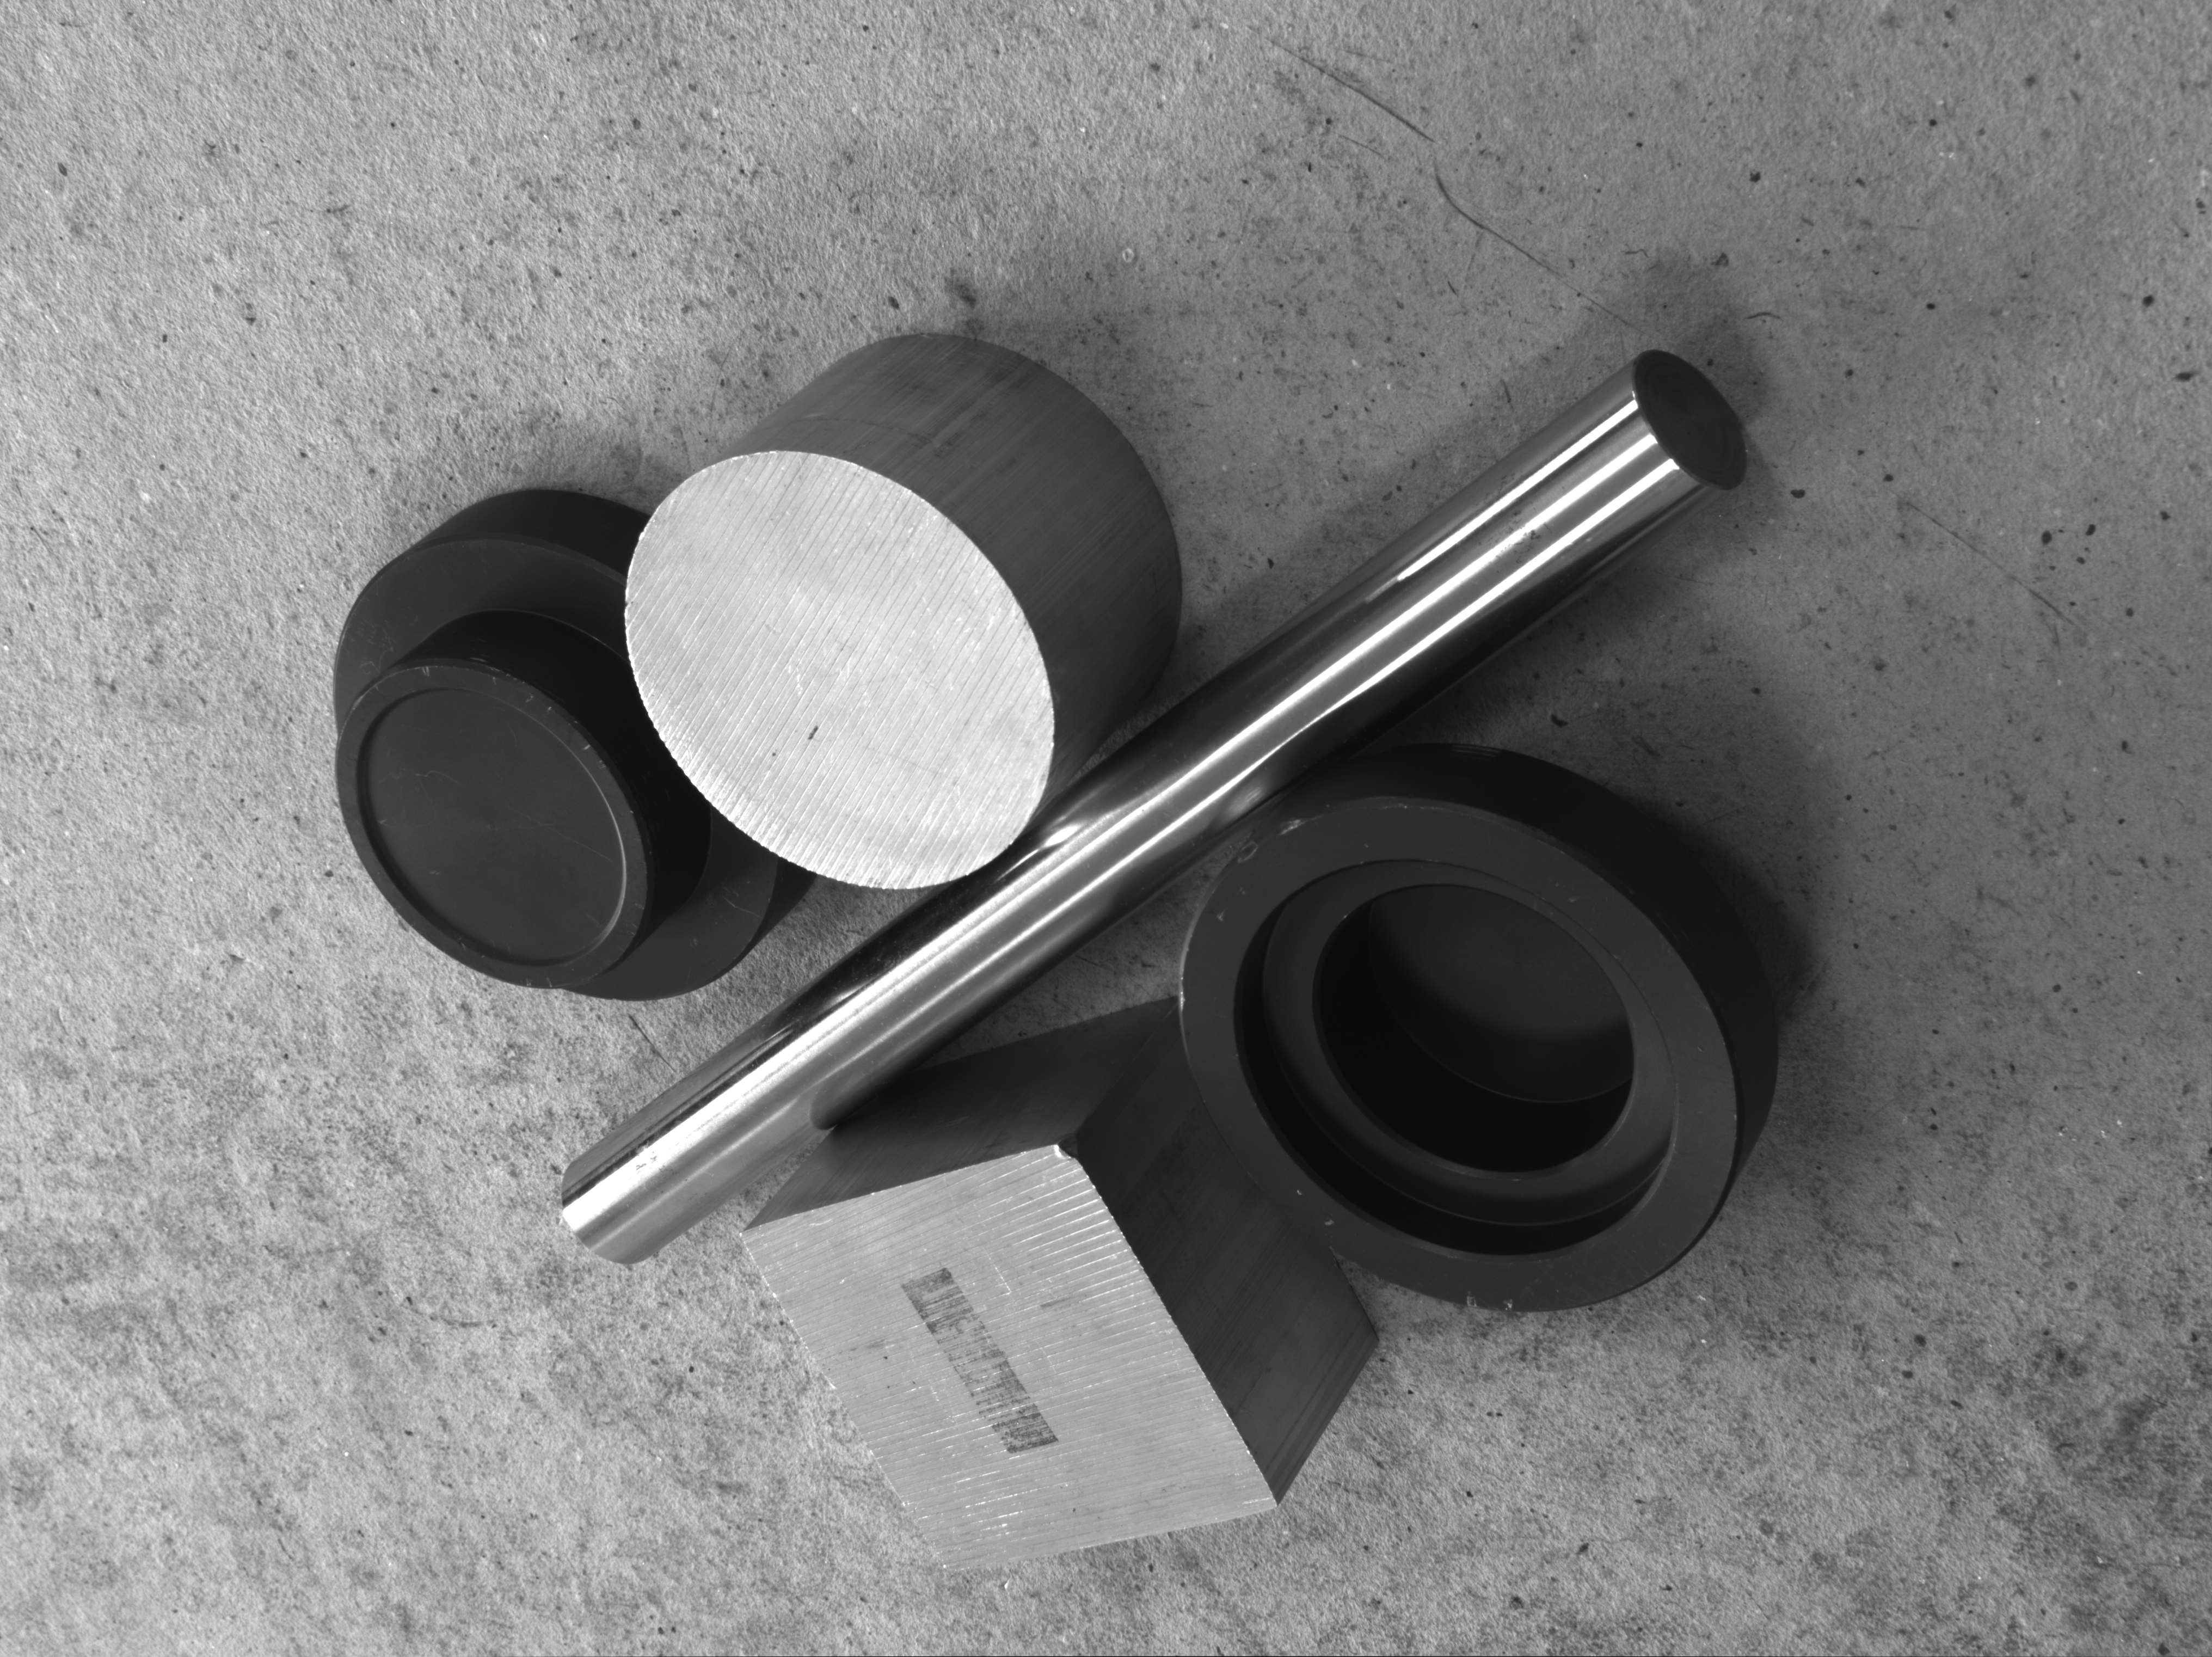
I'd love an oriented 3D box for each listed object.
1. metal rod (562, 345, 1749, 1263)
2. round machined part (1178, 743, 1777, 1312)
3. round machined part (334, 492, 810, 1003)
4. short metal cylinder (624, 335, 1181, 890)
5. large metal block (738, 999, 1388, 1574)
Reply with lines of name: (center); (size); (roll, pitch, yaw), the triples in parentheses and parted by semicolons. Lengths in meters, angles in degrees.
metal rod: (-0.005, 0.007, 0.651); (0.025, 0.025, 0.299); (49, 129, -6)
round machined part: (0.065, 0.029, 0.615); (0.098, 0.042, 0.098); (13, 124, 21)
round machined part: (-0.103, -0.009, 0.682); (0.098, 0.042, 0.098); (13, 124, 21)
short metal cylinder: (-0.034, -0.037, 0.622); (0.080, 0.050, 0.080); (13, 124, 21)
large metal block: (-0.007, 0.086, 0.684); (0.080, 0.050, 0.080); (-19, 108, 35)
